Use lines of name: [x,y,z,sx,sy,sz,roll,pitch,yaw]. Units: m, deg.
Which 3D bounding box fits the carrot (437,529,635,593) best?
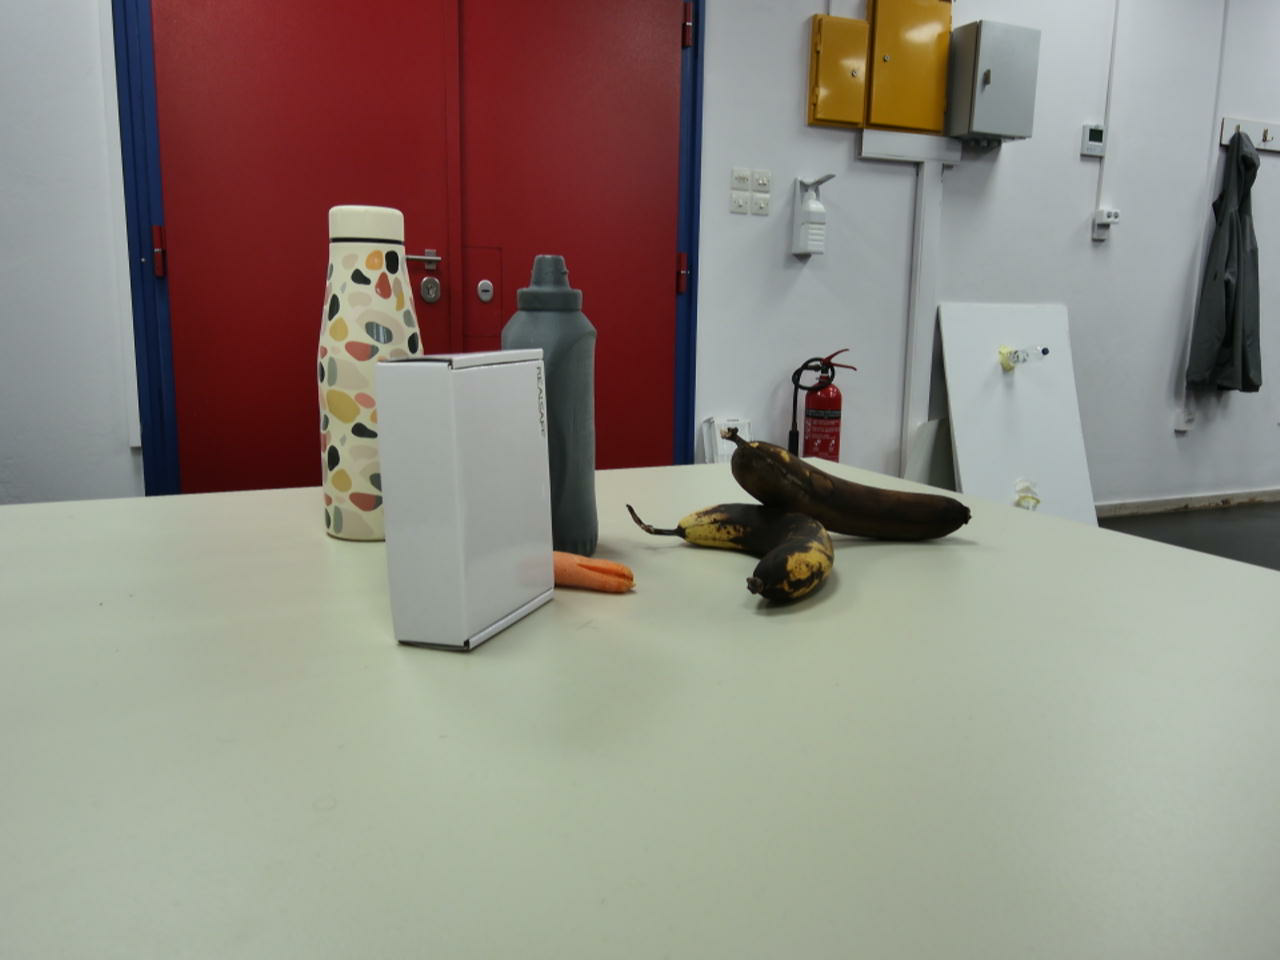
carrot: [-0.068,0.051,0.632,0.136,0.032,0.030,4,8,21]
